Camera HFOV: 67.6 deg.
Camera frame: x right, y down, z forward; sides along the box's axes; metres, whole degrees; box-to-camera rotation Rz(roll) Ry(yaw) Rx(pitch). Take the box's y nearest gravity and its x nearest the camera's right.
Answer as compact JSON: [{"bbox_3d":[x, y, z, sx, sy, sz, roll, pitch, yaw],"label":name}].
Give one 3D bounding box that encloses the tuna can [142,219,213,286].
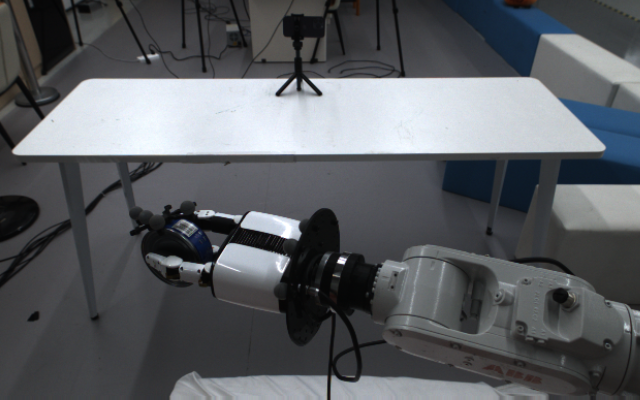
[{"bbox_3d":[-0.174,0.068,0.612,0.085,0.085,0.034,13,28,15],"label":"tuna can"}]
